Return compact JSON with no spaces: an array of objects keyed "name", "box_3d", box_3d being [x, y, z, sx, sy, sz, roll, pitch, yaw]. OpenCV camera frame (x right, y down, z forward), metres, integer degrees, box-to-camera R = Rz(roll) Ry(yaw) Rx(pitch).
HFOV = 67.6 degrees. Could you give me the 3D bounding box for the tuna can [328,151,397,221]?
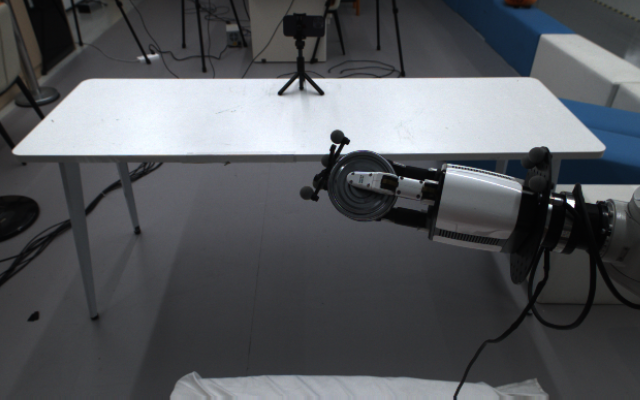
[{"name":"tuna can","box_3d":[0.055,-0.018,0.592,0.085,0.085,0.034,9,-5,10]}]
